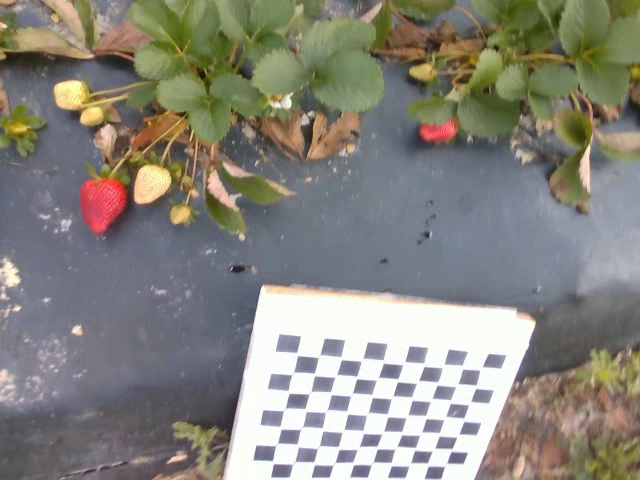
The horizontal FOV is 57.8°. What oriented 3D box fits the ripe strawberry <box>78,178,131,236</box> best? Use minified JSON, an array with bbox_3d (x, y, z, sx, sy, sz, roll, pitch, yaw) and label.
[{"bbox_3d":[-0.197,-0.030,0.519,0.050,0.059,0.034,-2,-25,-8],"label":"ripe strawberry"}]
